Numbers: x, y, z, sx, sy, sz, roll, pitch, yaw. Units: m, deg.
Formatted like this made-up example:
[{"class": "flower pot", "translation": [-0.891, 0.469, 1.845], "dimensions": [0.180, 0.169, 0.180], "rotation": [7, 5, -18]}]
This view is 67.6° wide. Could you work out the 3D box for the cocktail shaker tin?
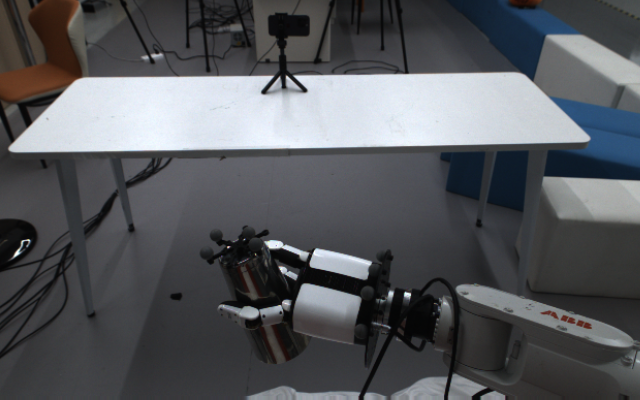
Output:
[{"class": "cocktail shaker tin", "translation": [-0.081, 0.137, 0.680], "dimensions": [0.093, 0.170, 0.093], "rotation": [-15, 28, 8]}]
